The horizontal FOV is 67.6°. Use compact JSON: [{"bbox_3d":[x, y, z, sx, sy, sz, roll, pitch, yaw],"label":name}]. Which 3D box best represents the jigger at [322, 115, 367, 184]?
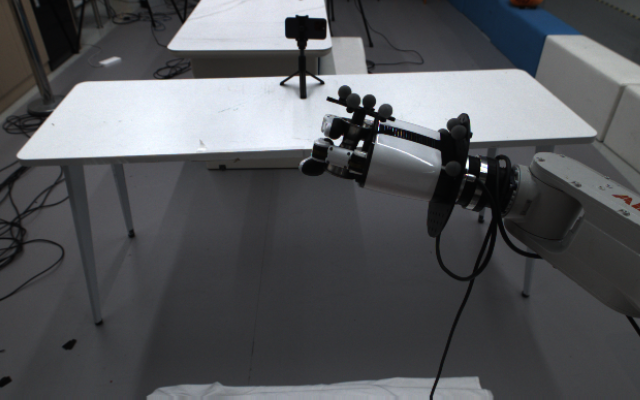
[{"bbox_3d":[0.036,-0.065,0.611,0.043,0.071,0.043,18,17,-6],"label":"jigger"}]
